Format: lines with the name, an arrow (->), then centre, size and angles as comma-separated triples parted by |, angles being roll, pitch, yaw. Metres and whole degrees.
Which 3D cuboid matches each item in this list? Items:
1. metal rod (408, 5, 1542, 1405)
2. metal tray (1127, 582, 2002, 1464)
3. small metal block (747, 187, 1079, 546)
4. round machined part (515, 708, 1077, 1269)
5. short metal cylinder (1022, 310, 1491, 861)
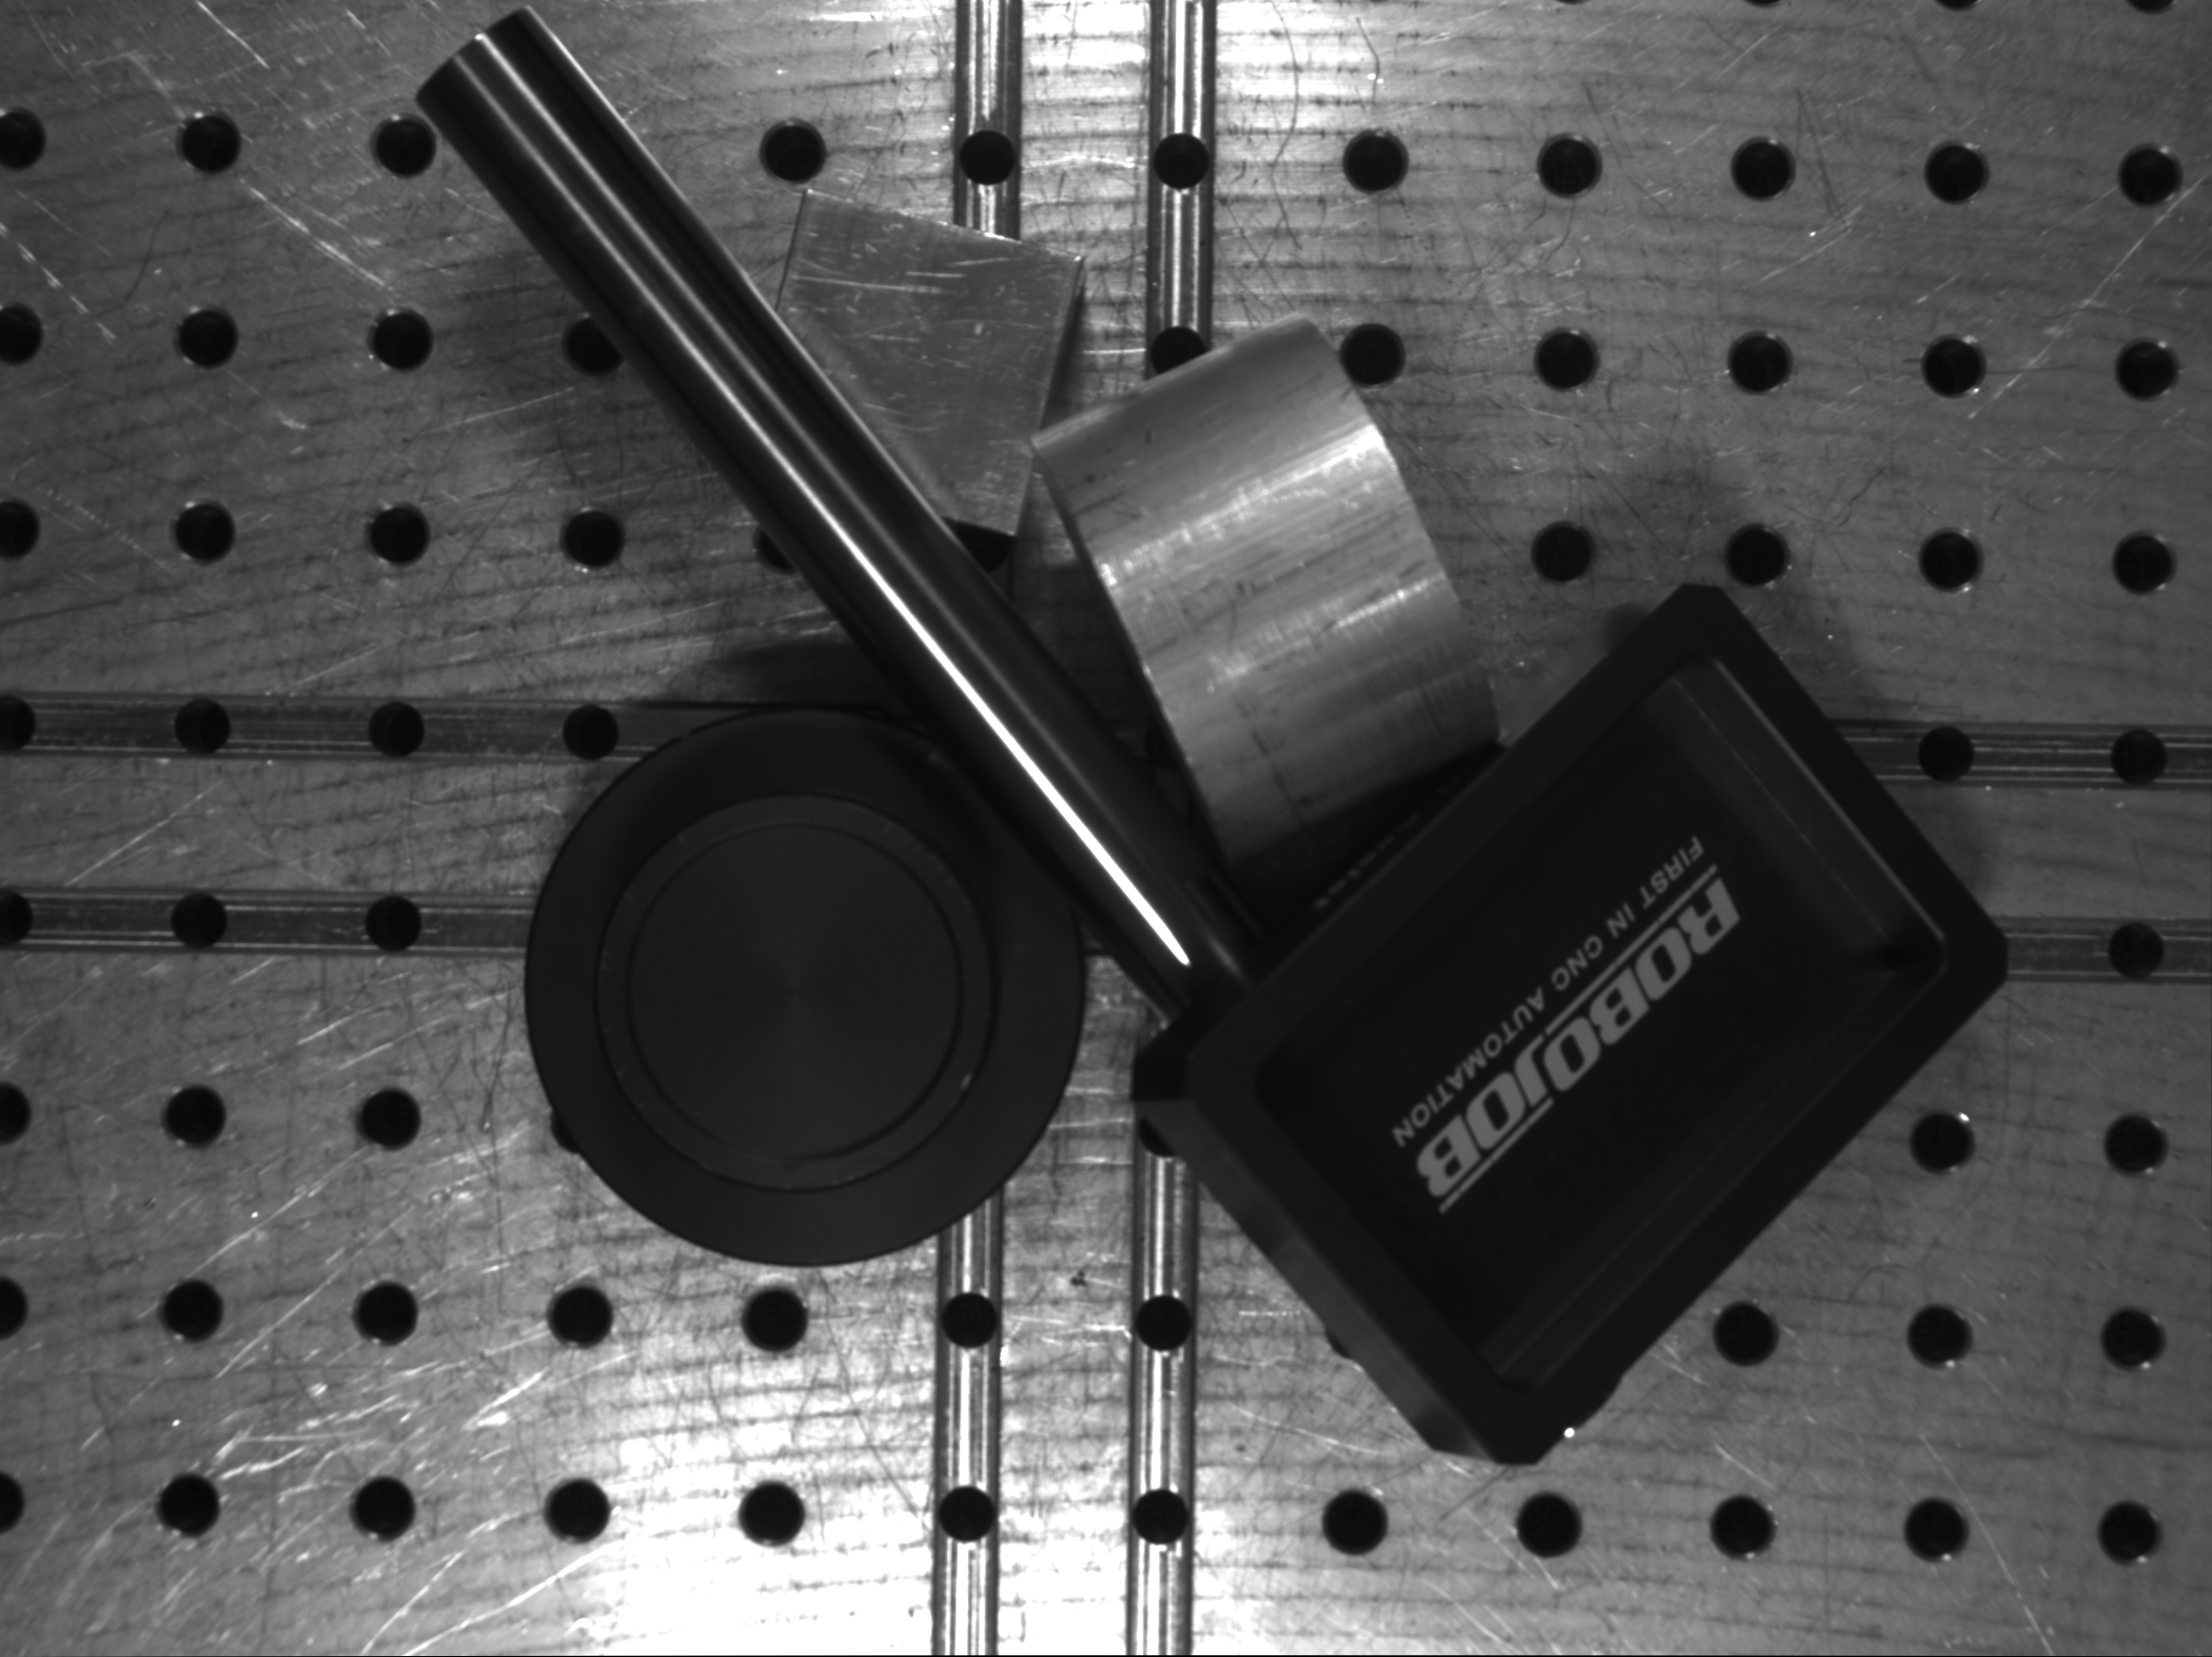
metal rod -> -0.012, -0.014, 0.631 | 0.025, 0.025, 0.300 | -39, 98, 0
metal tray -> 0.079, 0.032, 0.625 | 0.130, 0.030, 0.090 | -43, 98, -16
small metal block -> -0.035, -0.081, 0.648 | 0.050, 0.025, 0.050 | 13, 90, 0
round machined part -> -0.054, 0.028, 0.638 | 0.098, 0.042, 0.098 | 0, 90, 0
short metal cylinder -> 0.025, -0.041, 0.620 | 0.050, 0.080, 0.080 | -25, 90, 0
